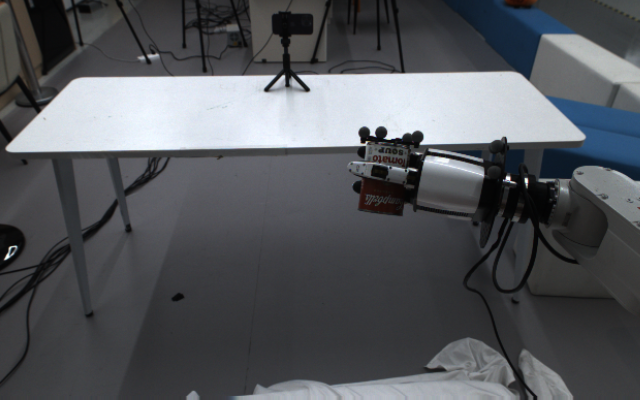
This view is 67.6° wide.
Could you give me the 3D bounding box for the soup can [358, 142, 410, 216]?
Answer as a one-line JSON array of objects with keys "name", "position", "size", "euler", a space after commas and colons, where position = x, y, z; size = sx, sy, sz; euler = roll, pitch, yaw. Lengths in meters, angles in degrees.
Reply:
[{"name": "soup can", "position": [0.096, -0.031, 0.714], "size": [0.067, 0.101, 0.067], "euler": [7, 3, 0]}]
